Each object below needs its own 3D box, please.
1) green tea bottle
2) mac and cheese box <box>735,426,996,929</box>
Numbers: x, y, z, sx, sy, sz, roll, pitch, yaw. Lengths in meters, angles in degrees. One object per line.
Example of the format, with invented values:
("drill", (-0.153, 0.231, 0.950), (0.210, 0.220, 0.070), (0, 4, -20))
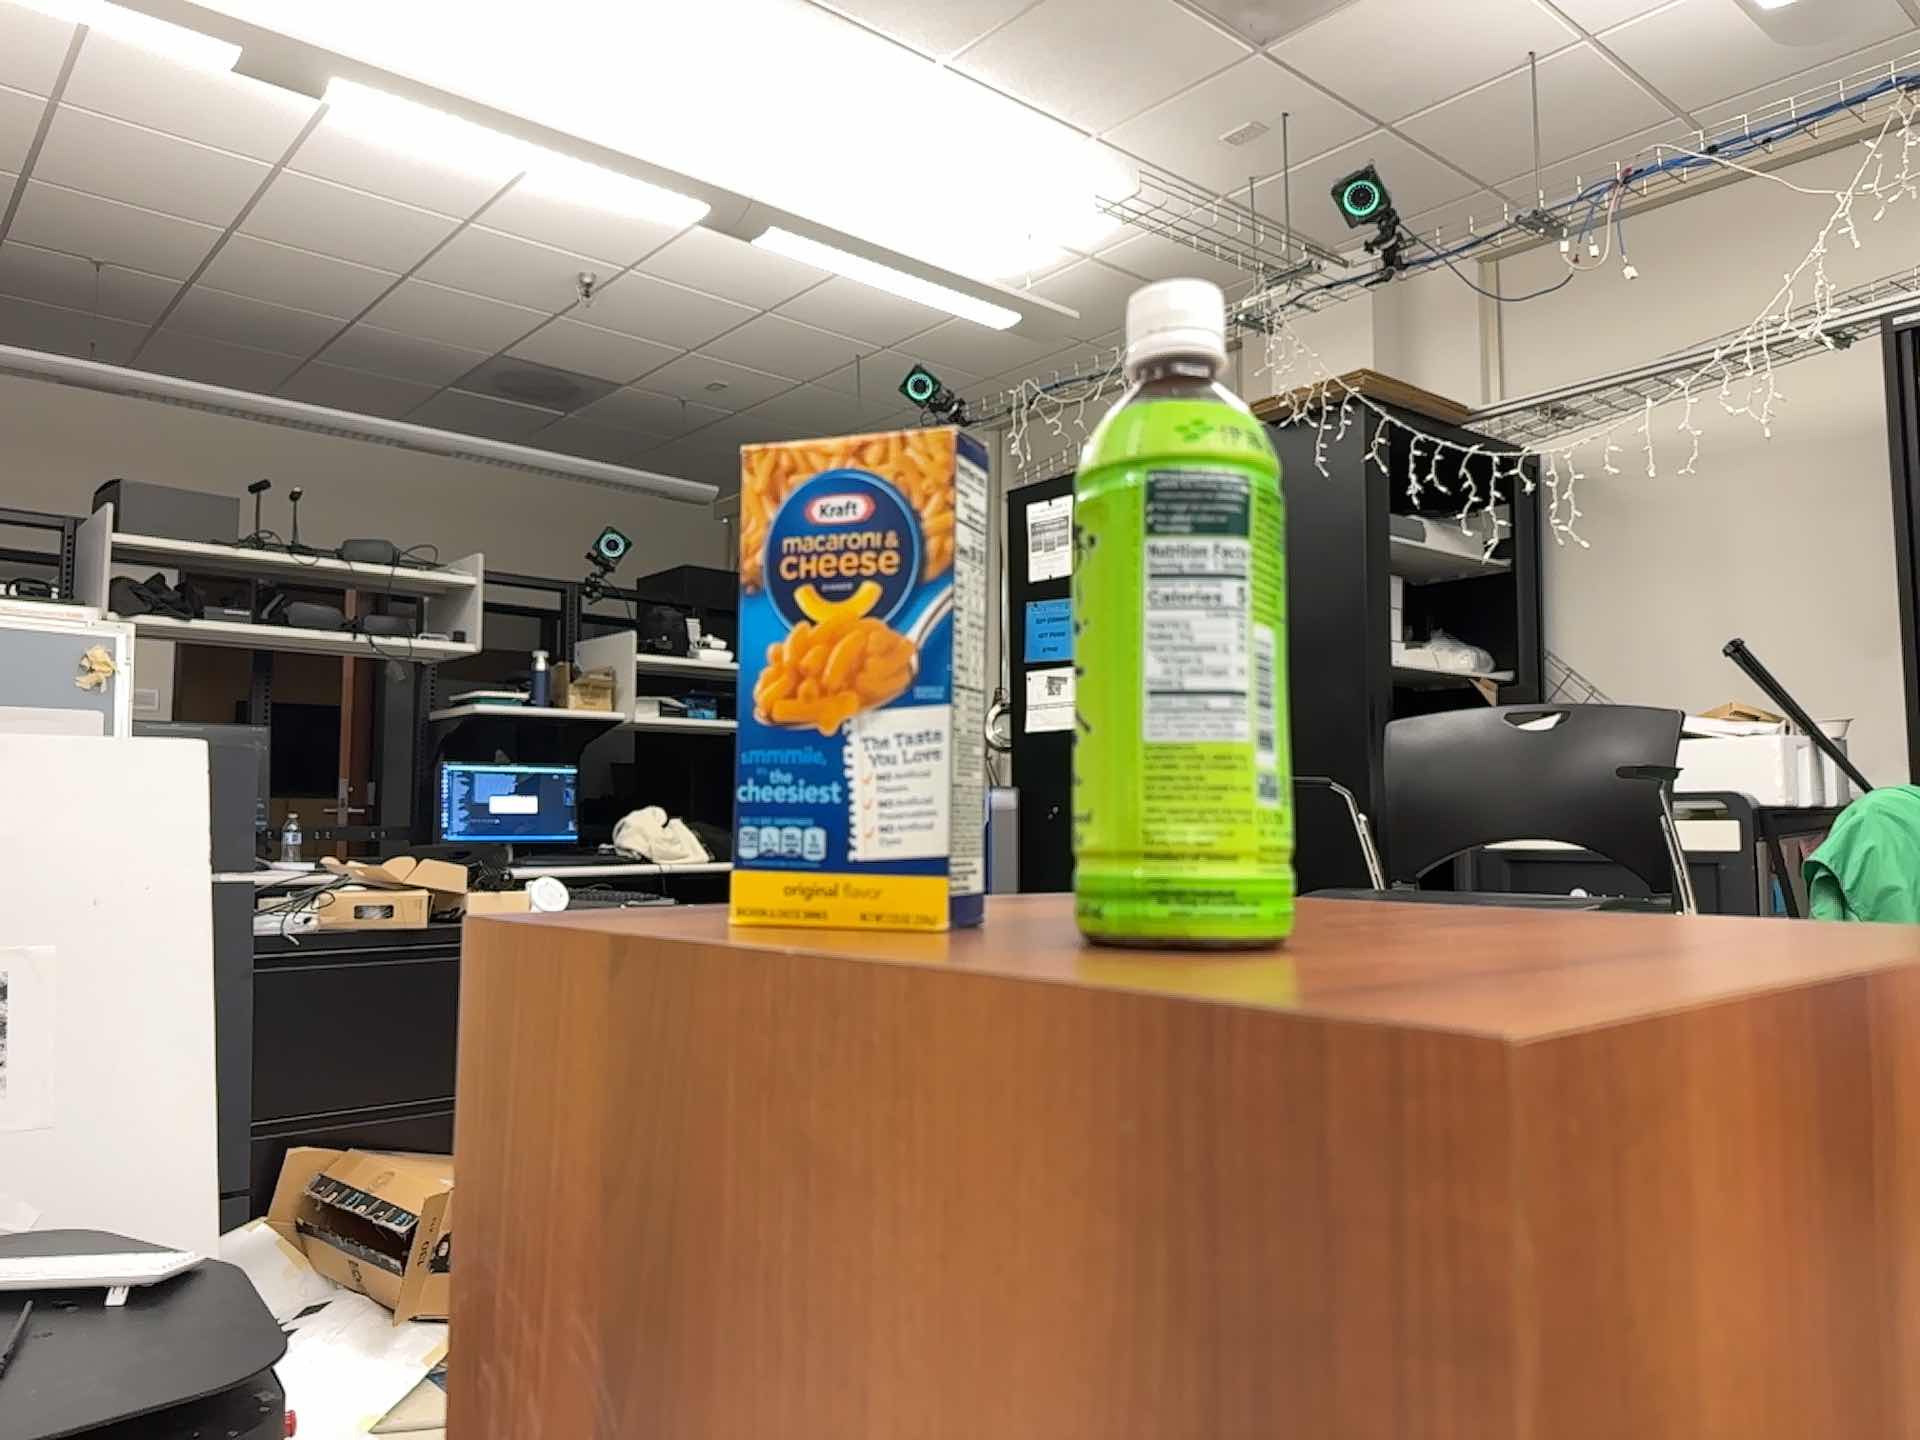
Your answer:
("green tea bottle", (0.072, -0.039, 0.435), (0.073, 0.212, 0.073), (3, -6, 0))
("mac and cheese box", (-0.035, -0.014, 0.514), (0.088, 0.181, 0.035), (-3, -8, 25))
